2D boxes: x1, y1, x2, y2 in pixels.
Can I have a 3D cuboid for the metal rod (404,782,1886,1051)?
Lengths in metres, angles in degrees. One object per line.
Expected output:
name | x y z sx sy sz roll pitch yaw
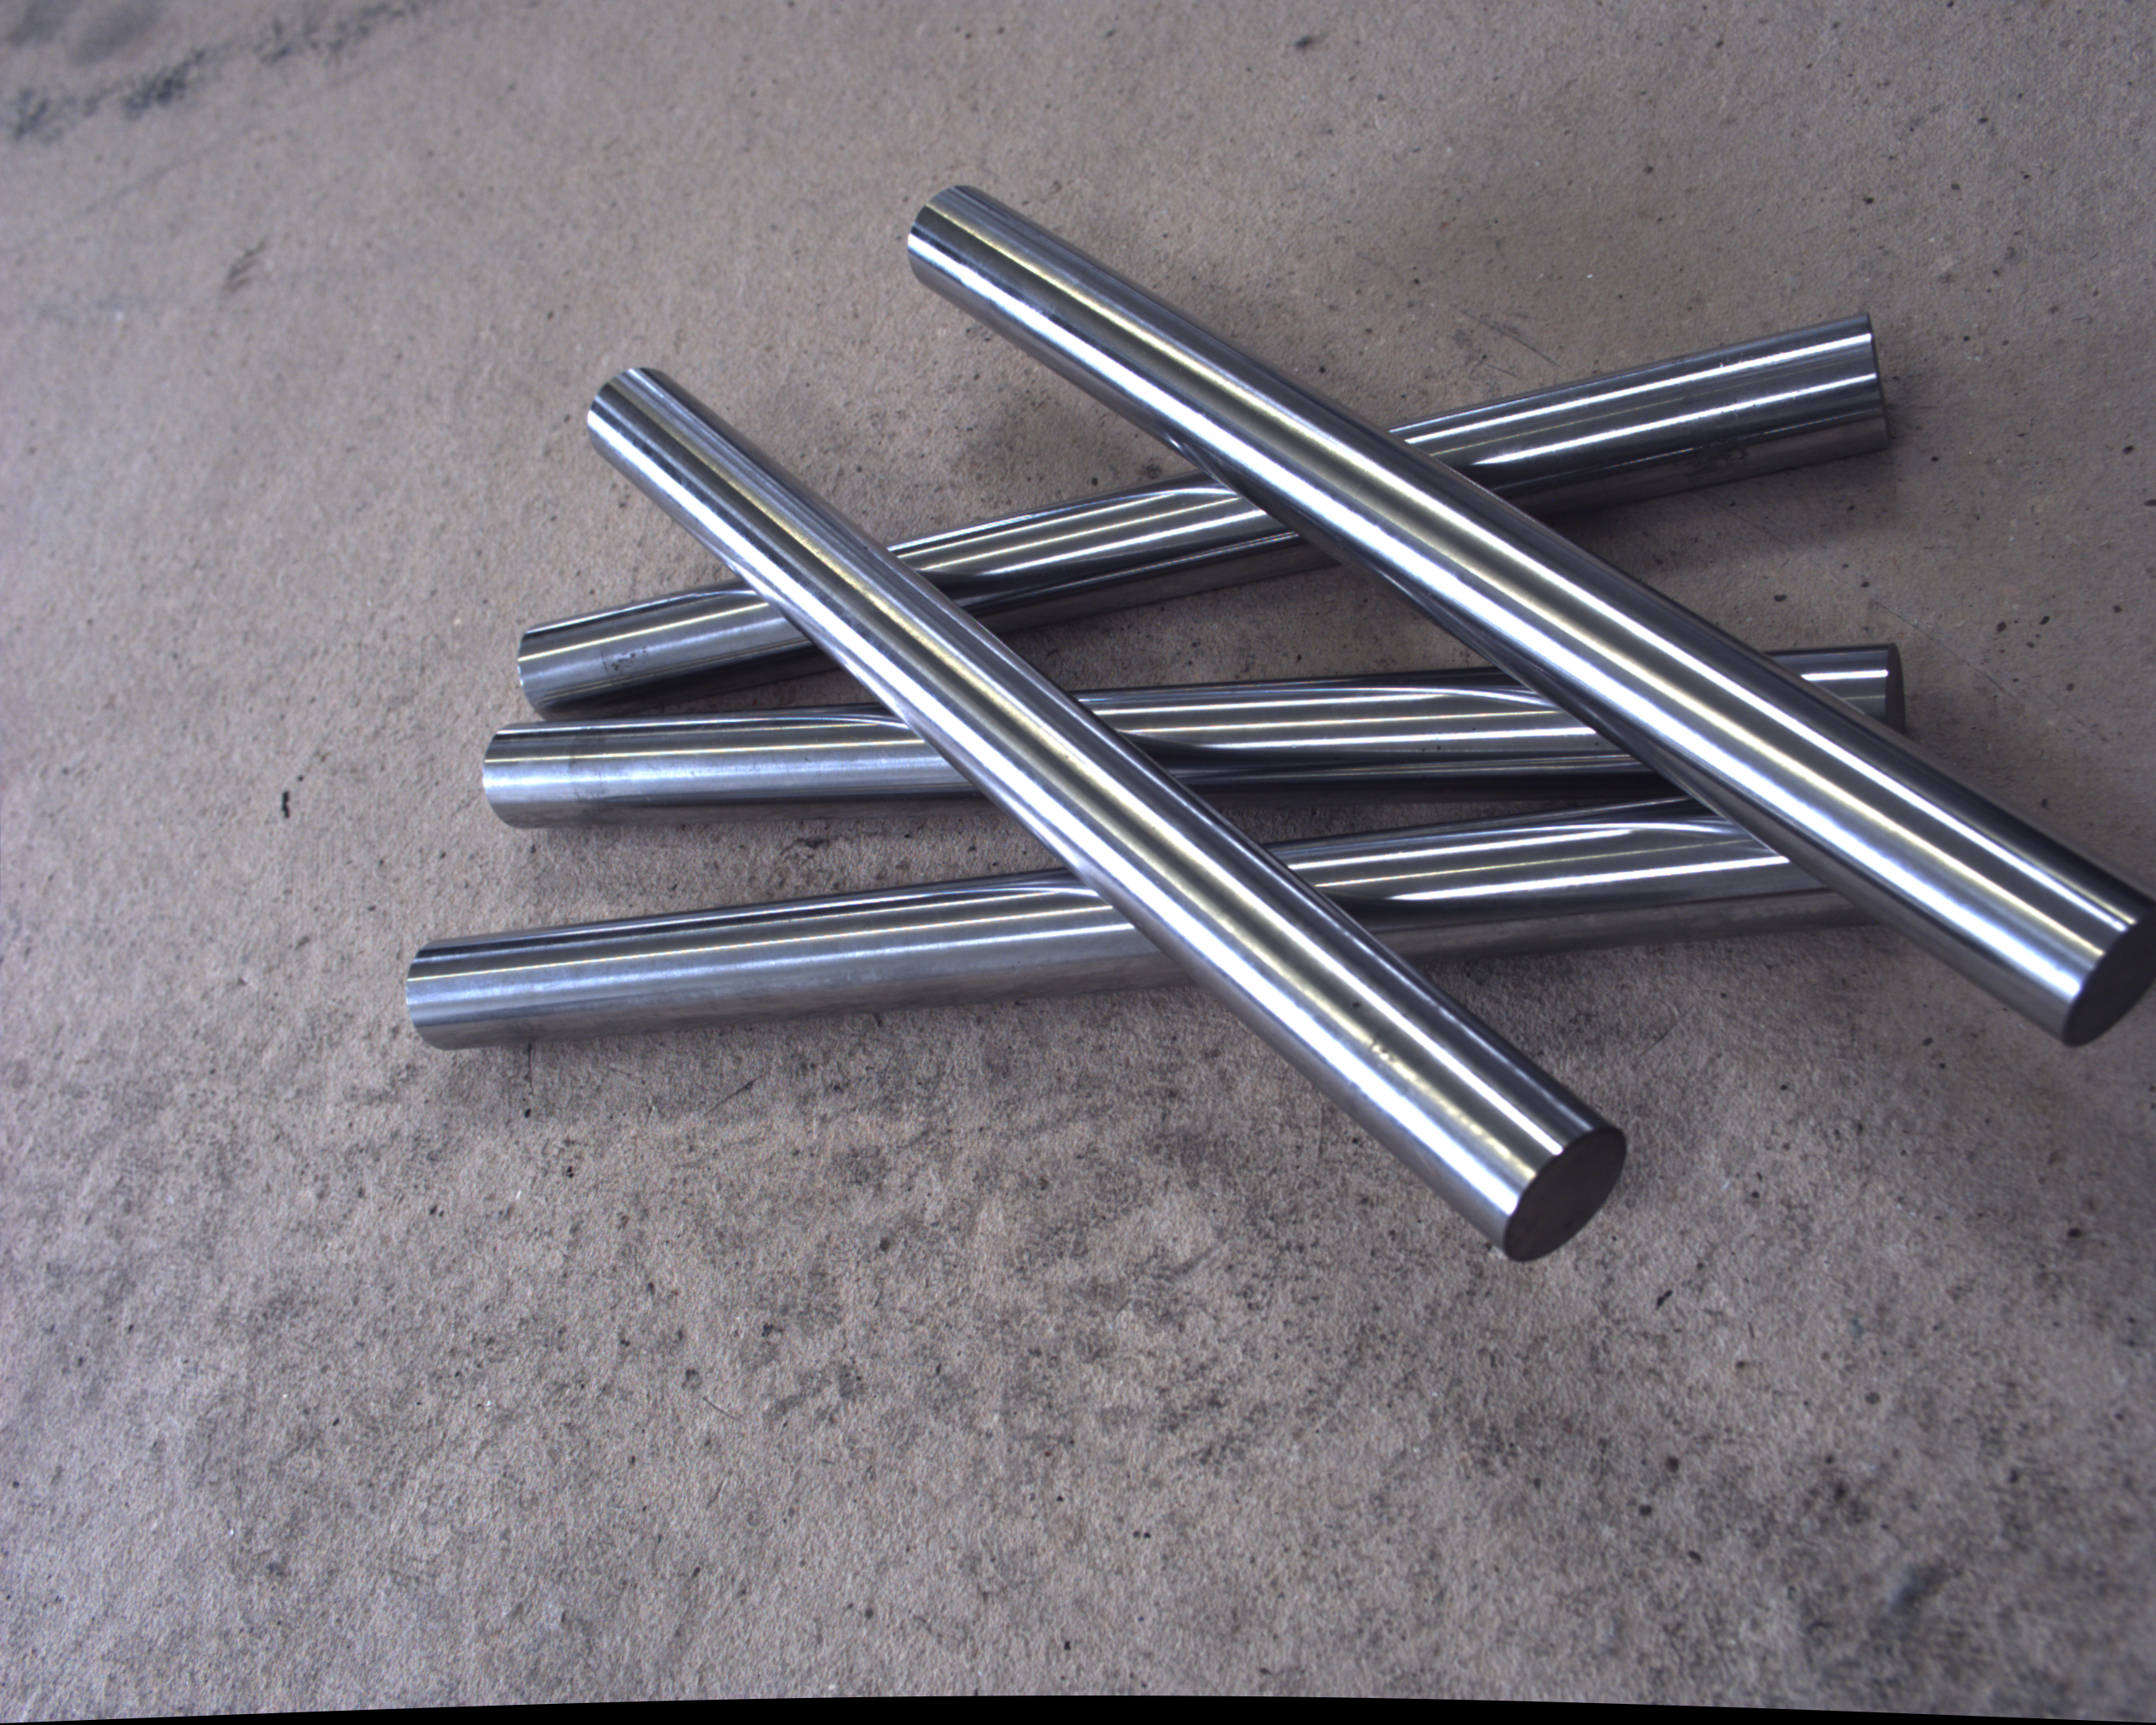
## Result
metal rod | -0.004 0.013 0.399 0.300 0.025 0.025 -7 59 24

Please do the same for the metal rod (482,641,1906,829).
metal rod | 0.003 -0.022 0.417 0.300 0.025 0.025 -1 61 27

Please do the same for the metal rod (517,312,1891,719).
metal rod | 0.010 -0.067 0.441 0.300 0.025 0.025 -9 58 23

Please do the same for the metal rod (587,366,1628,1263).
metal rod | -0.016 -0.028 0.399 0.025 0.025 0.300 -46 51 -4

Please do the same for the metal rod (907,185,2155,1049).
metal rod | 0.058 -0.063 0.381 0.025 0.025 0.300 -45 51 -3
